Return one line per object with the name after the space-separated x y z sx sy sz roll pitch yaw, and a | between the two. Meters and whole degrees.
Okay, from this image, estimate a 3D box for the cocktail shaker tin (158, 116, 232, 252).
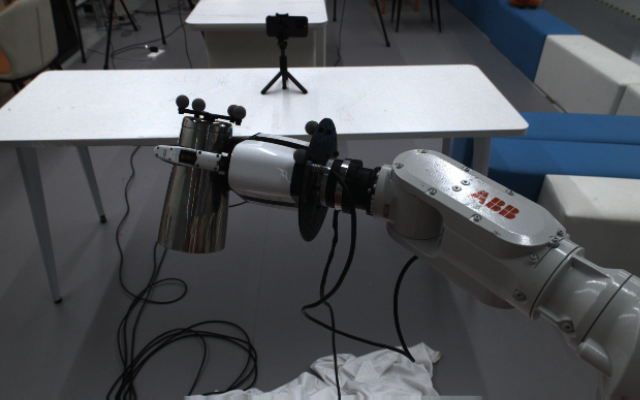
-0.161 -0.024 0.659 0.093 0.170 0.093 10 10 -2 | cocktail shaker tin
